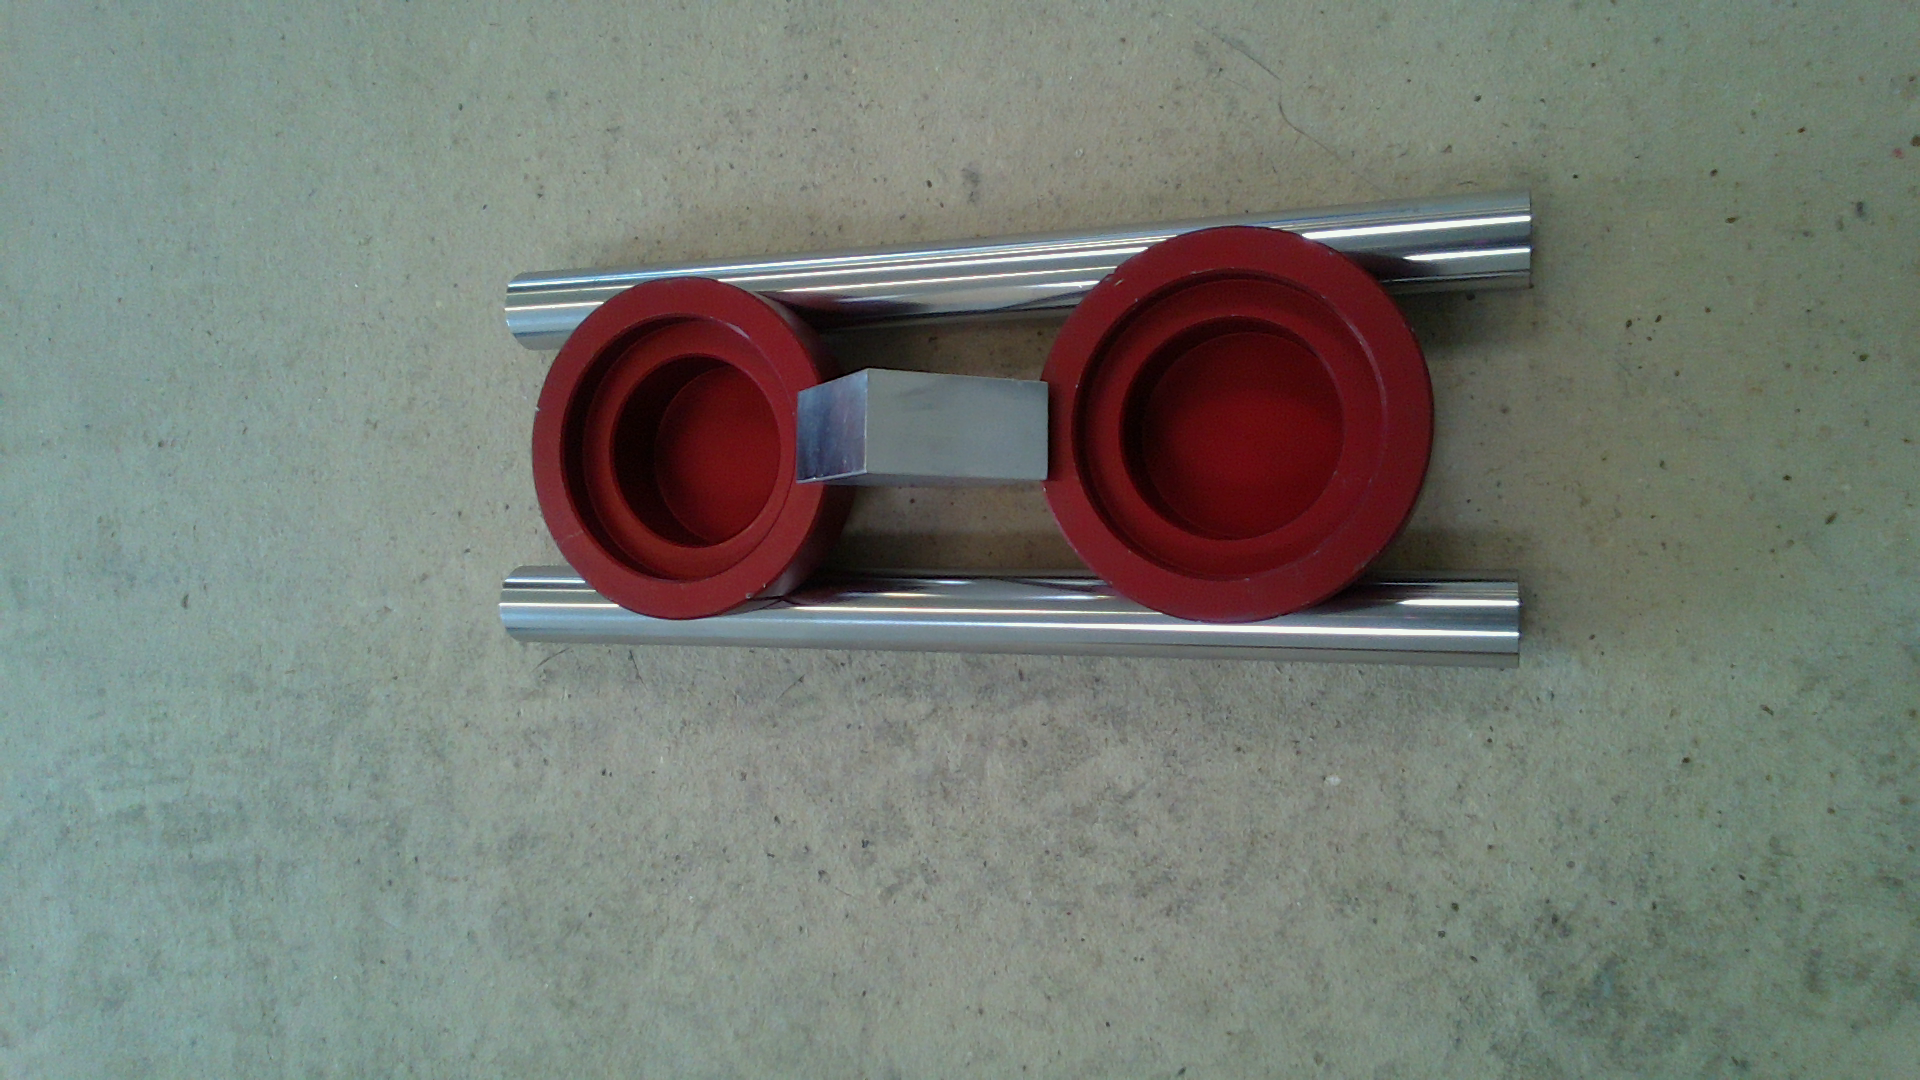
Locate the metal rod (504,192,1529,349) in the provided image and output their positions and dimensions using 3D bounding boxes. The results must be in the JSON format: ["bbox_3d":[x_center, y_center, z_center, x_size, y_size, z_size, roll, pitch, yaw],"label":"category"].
[{"bbox_3d":[0.001,-0.074,0.395,0.299,0.025,0.025,0,90,20],"label":"metal rod"}]

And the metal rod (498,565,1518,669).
[{"bbox_3d":[-0.001,0.020,0.396,0.299,0.025,0.025,0,90,20],"label":"metal rod"}]

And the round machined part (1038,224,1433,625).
[{"bbox_3d":[0.071,-0.028,0.356,0.098,0.042,0.098,0,90,20],"label":"round machined part"}]

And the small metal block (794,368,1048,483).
[{"bbox_3d":[-0.011,-0.028,0.359,0.050,0.050,0.025,-1,88,63],"label":"small metal block"}]

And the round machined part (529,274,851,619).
[{"bbox_3d":[-0.075,-0.027,0.409,0.098,0.042,0.098,0,90,20],"label":"round machined part"}]
